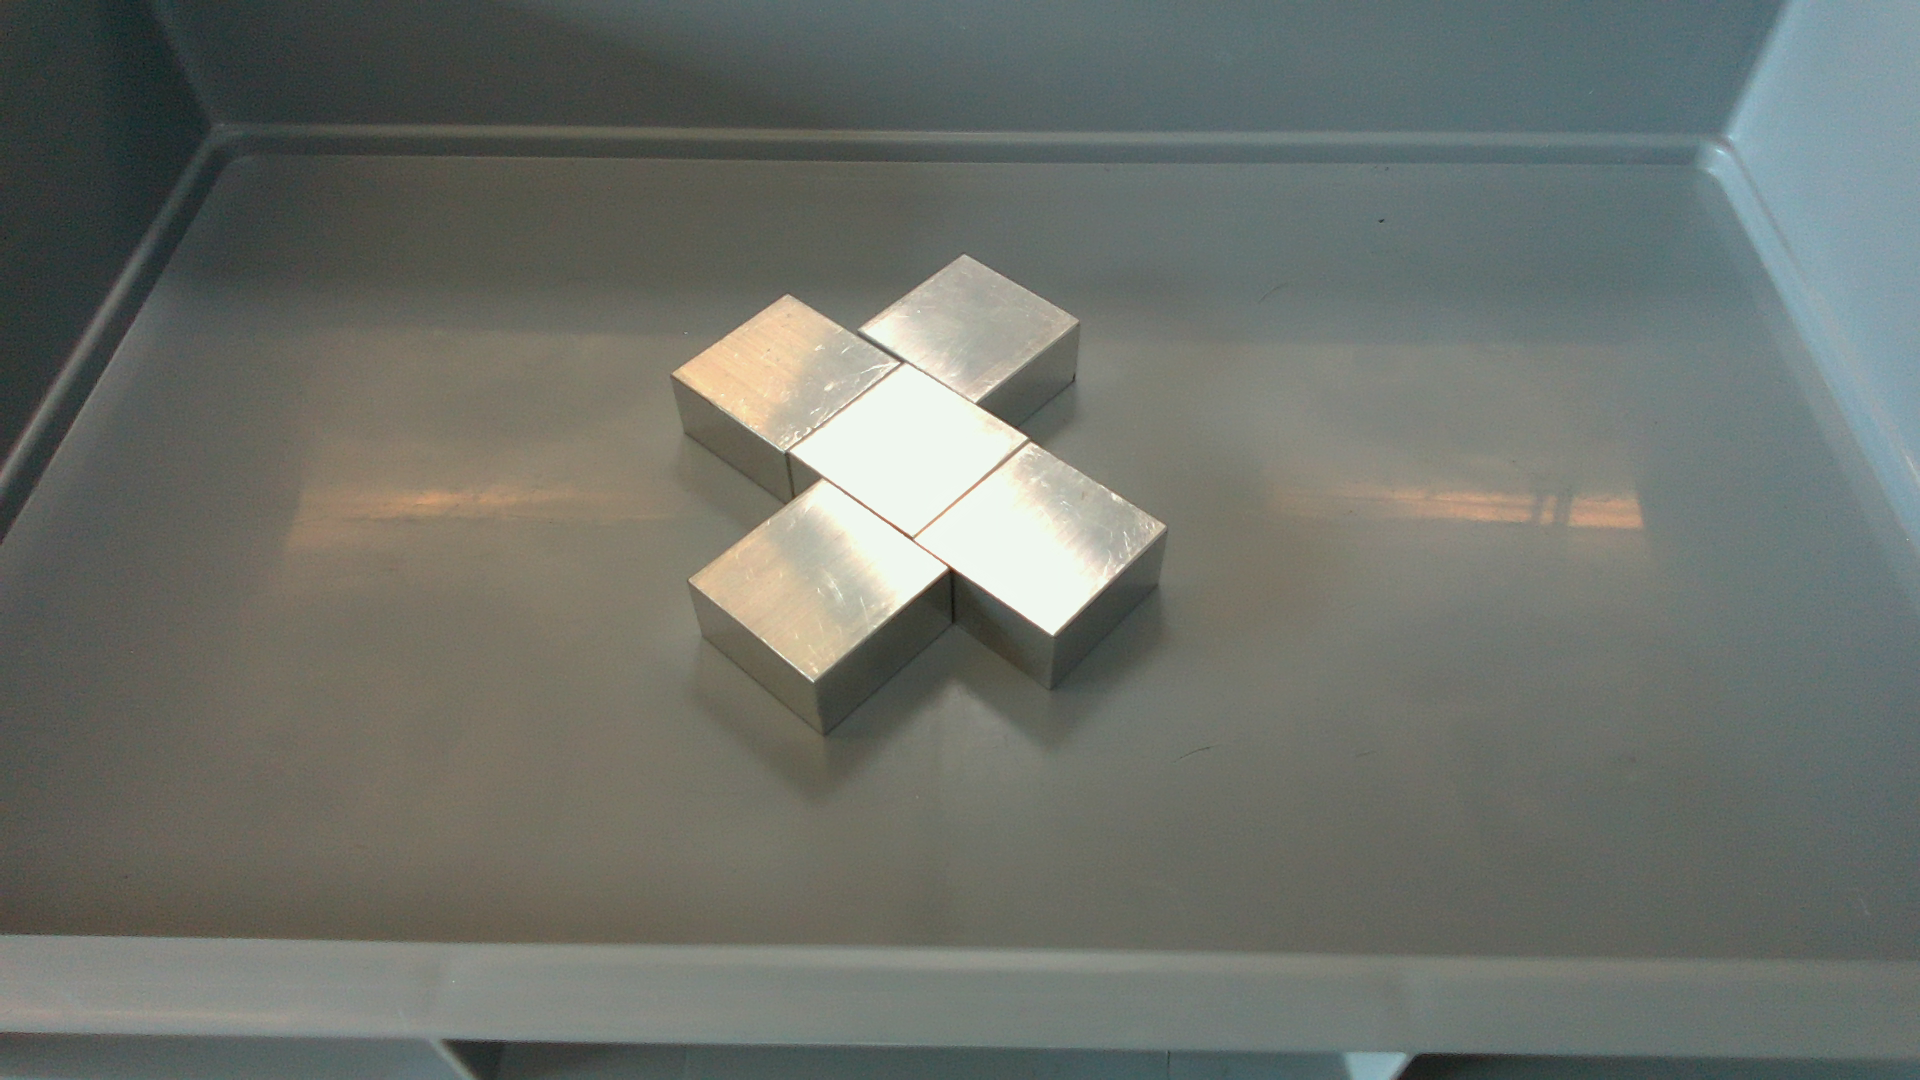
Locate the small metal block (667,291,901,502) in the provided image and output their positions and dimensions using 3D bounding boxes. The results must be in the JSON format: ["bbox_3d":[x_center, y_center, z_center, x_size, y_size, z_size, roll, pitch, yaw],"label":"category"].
[{"bbox_3d":[-0.053,-0.045,0.427,0.050,0.025,0.050,34,58,25],"label":"small metal block"}]

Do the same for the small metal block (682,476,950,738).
[{"bbox_3d":[-0.038,0.017,0.375,0.050,0.025,0.050,35,59,26],"label":"small metal block"}]

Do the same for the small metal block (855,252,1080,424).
[{"bbox_3d":[0.002,-0.060,0.440,0.050,0.025,0.050,34,57,25],"label":"small metal block"}]

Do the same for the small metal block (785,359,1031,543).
[{"bbox_3d":[-0.015,-0.020,0.405,0.050,0.025,0.050,34,58,25],"label":"small metal block"}]

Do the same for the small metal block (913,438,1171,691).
[{"bbox_3d":[0.023,0.006,0.384,0.050,0.025,0.050,34,58,25],"label":"small metal block"}]
